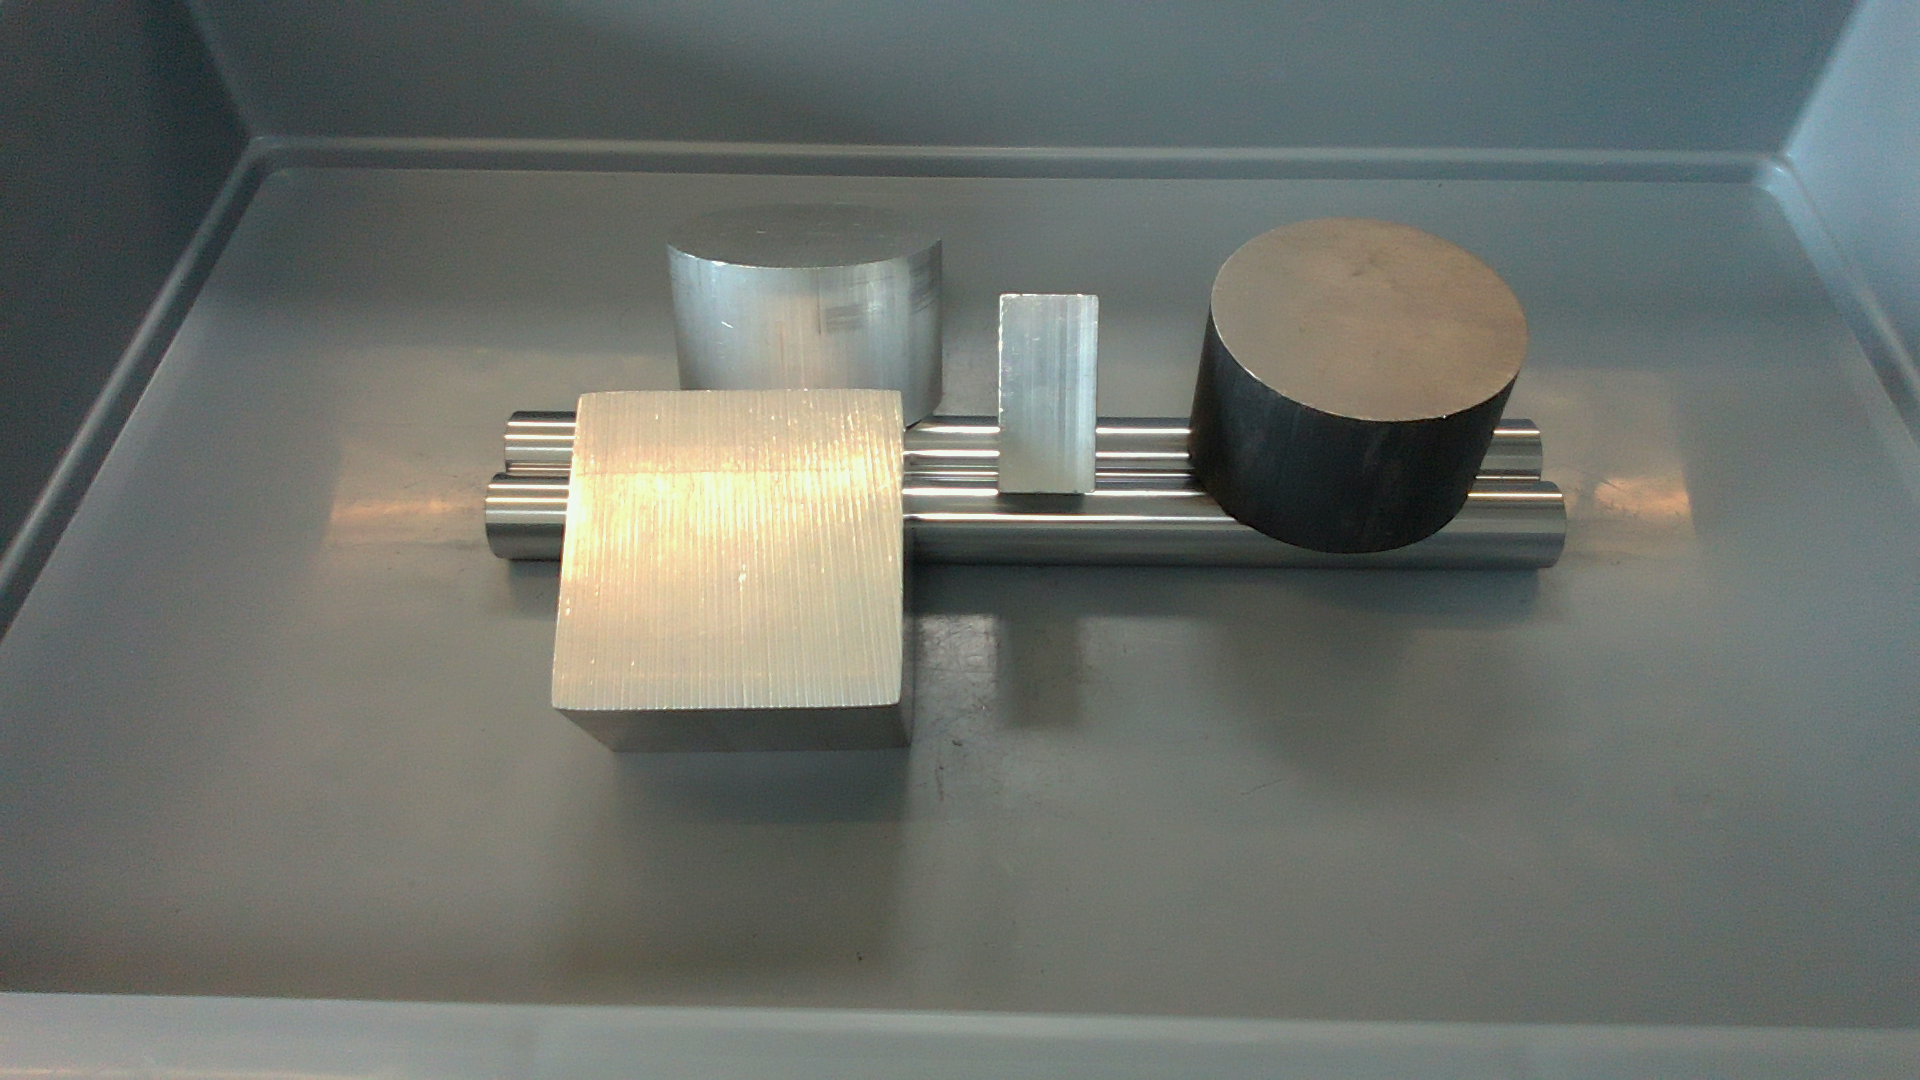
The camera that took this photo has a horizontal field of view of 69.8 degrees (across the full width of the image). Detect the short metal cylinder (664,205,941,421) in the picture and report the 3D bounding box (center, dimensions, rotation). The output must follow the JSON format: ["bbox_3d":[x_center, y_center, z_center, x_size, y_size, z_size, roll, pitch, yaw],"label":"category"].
[{"bbox_3d":[-0.046,-0.068,0.412,0.080,0.050,0.080,0,26,0],"label":"short metal cylinder"}]

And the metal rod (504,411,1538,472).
[{"bbox_3d":[0.018,-0.025,0.412,0.300,0.025,0.025,0,50,0],"label":"metal rod"}]

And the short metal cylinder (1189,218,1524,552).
[{"bbox_3d":[0.106,-0.043,0.378,0.080,0.050,0.080,0,50,0],"label":"short metal cylinder"}]

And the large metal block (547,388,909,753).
[{"bbox_3d":[-0.054,0.009,0.348,0.080,0.050,0.080,-1,70,0],"label":"large metal block"}]

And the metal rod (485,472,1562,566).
[{"bbox_3d":[0.017,-0.006,0.396,0.300,0.025,0.025,0,50,0],"label":"metal rod"}]

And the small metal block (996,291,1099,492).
[{"bbox_3d":[0.022,-0.041,0.371,0.025,0.050,0.050,1,8,1],"label":"small metal block"}]
